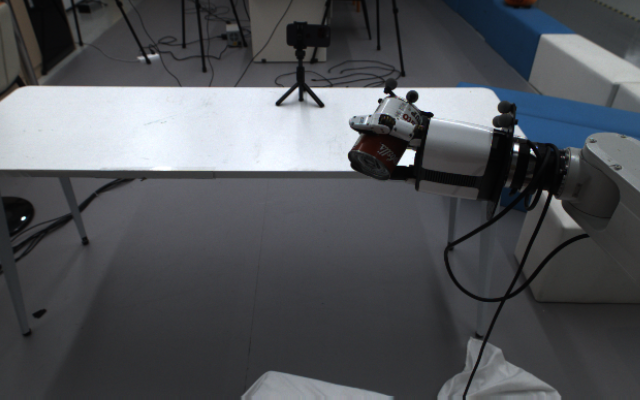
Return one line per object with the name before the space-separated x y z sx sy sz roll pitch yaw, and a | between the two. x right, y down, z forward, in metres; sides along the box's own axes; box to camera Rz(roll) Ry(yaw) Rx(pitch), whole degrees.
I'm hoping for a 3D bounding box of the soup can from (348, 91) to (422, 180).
soup can | 0.094 -0.089 0.684 0.067 0.067 0.101 24 73 28
